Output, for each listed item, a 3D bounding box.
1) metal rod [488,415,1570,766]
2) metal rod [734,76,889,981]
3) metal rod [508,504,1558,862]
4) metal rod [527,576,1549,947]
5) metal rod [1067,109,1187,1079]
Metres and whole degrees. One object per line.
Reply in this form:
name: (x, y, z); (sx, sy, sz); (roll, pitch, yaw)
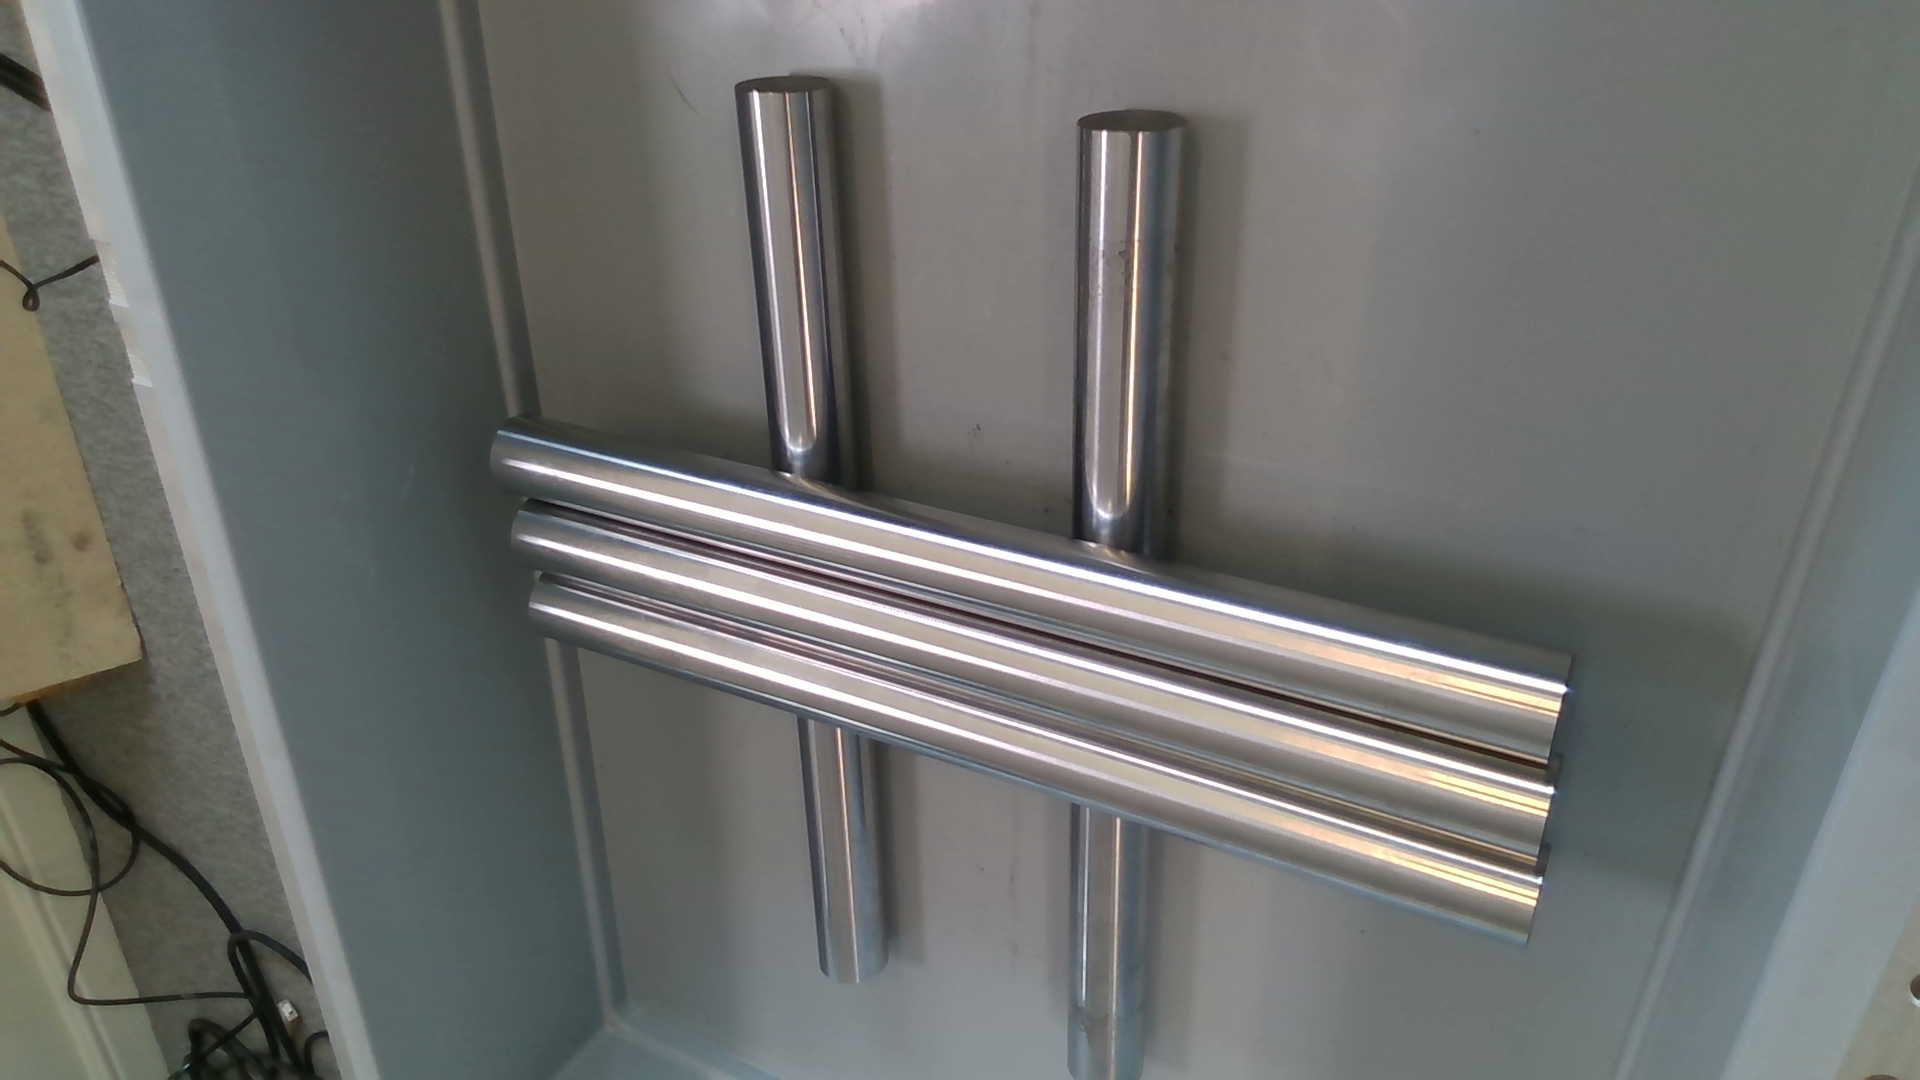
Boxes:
metal rod: (-0.004, 0.005, 0.359); (0.300, 0.025, 0.025); (13, 121, 25)
metal rod: (-0.042, 0.016, 0.423); (0.025, 0.025, 0.301); (13, 121, 26)
metal rod: (-0.001, 0.028, 0.371); (0.300, 0.025, 0.025); (13, 121, 25)
metal rod: (0.001, 0.050, 0.381); (0.300, 0.025, 0.025); (13, 121, 25)
metal rod: (0.043, 0.037, 0.382); (0.025, 0.025, 0.301); (13, 121, 26)
